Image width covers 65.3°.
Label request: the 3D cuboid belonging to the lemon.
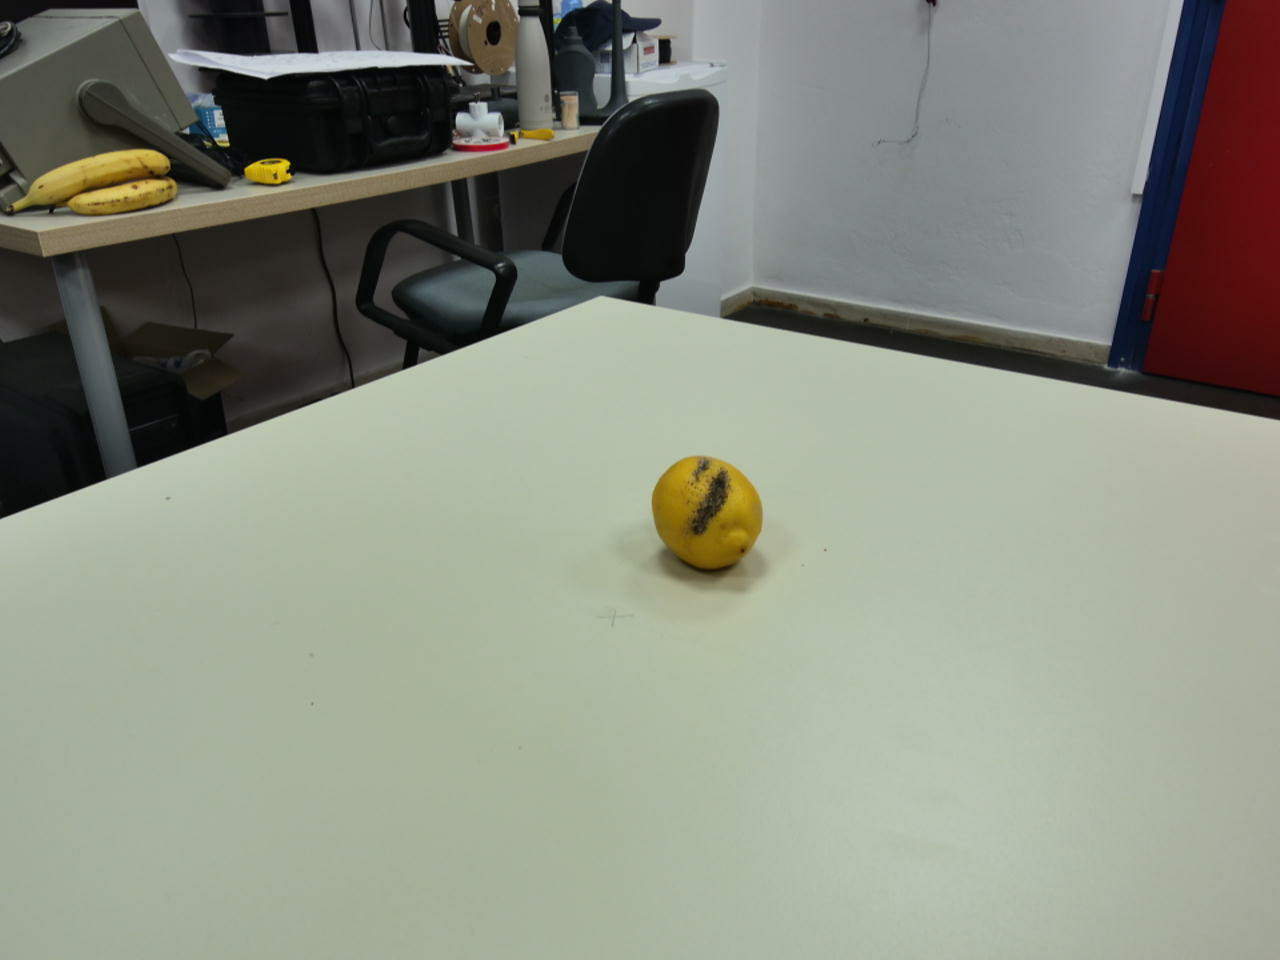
[{"bbox_3d":[0.036,0.017,0.528,0.061,0.056,0.058,14,27,26],"label":"lemon"}]
